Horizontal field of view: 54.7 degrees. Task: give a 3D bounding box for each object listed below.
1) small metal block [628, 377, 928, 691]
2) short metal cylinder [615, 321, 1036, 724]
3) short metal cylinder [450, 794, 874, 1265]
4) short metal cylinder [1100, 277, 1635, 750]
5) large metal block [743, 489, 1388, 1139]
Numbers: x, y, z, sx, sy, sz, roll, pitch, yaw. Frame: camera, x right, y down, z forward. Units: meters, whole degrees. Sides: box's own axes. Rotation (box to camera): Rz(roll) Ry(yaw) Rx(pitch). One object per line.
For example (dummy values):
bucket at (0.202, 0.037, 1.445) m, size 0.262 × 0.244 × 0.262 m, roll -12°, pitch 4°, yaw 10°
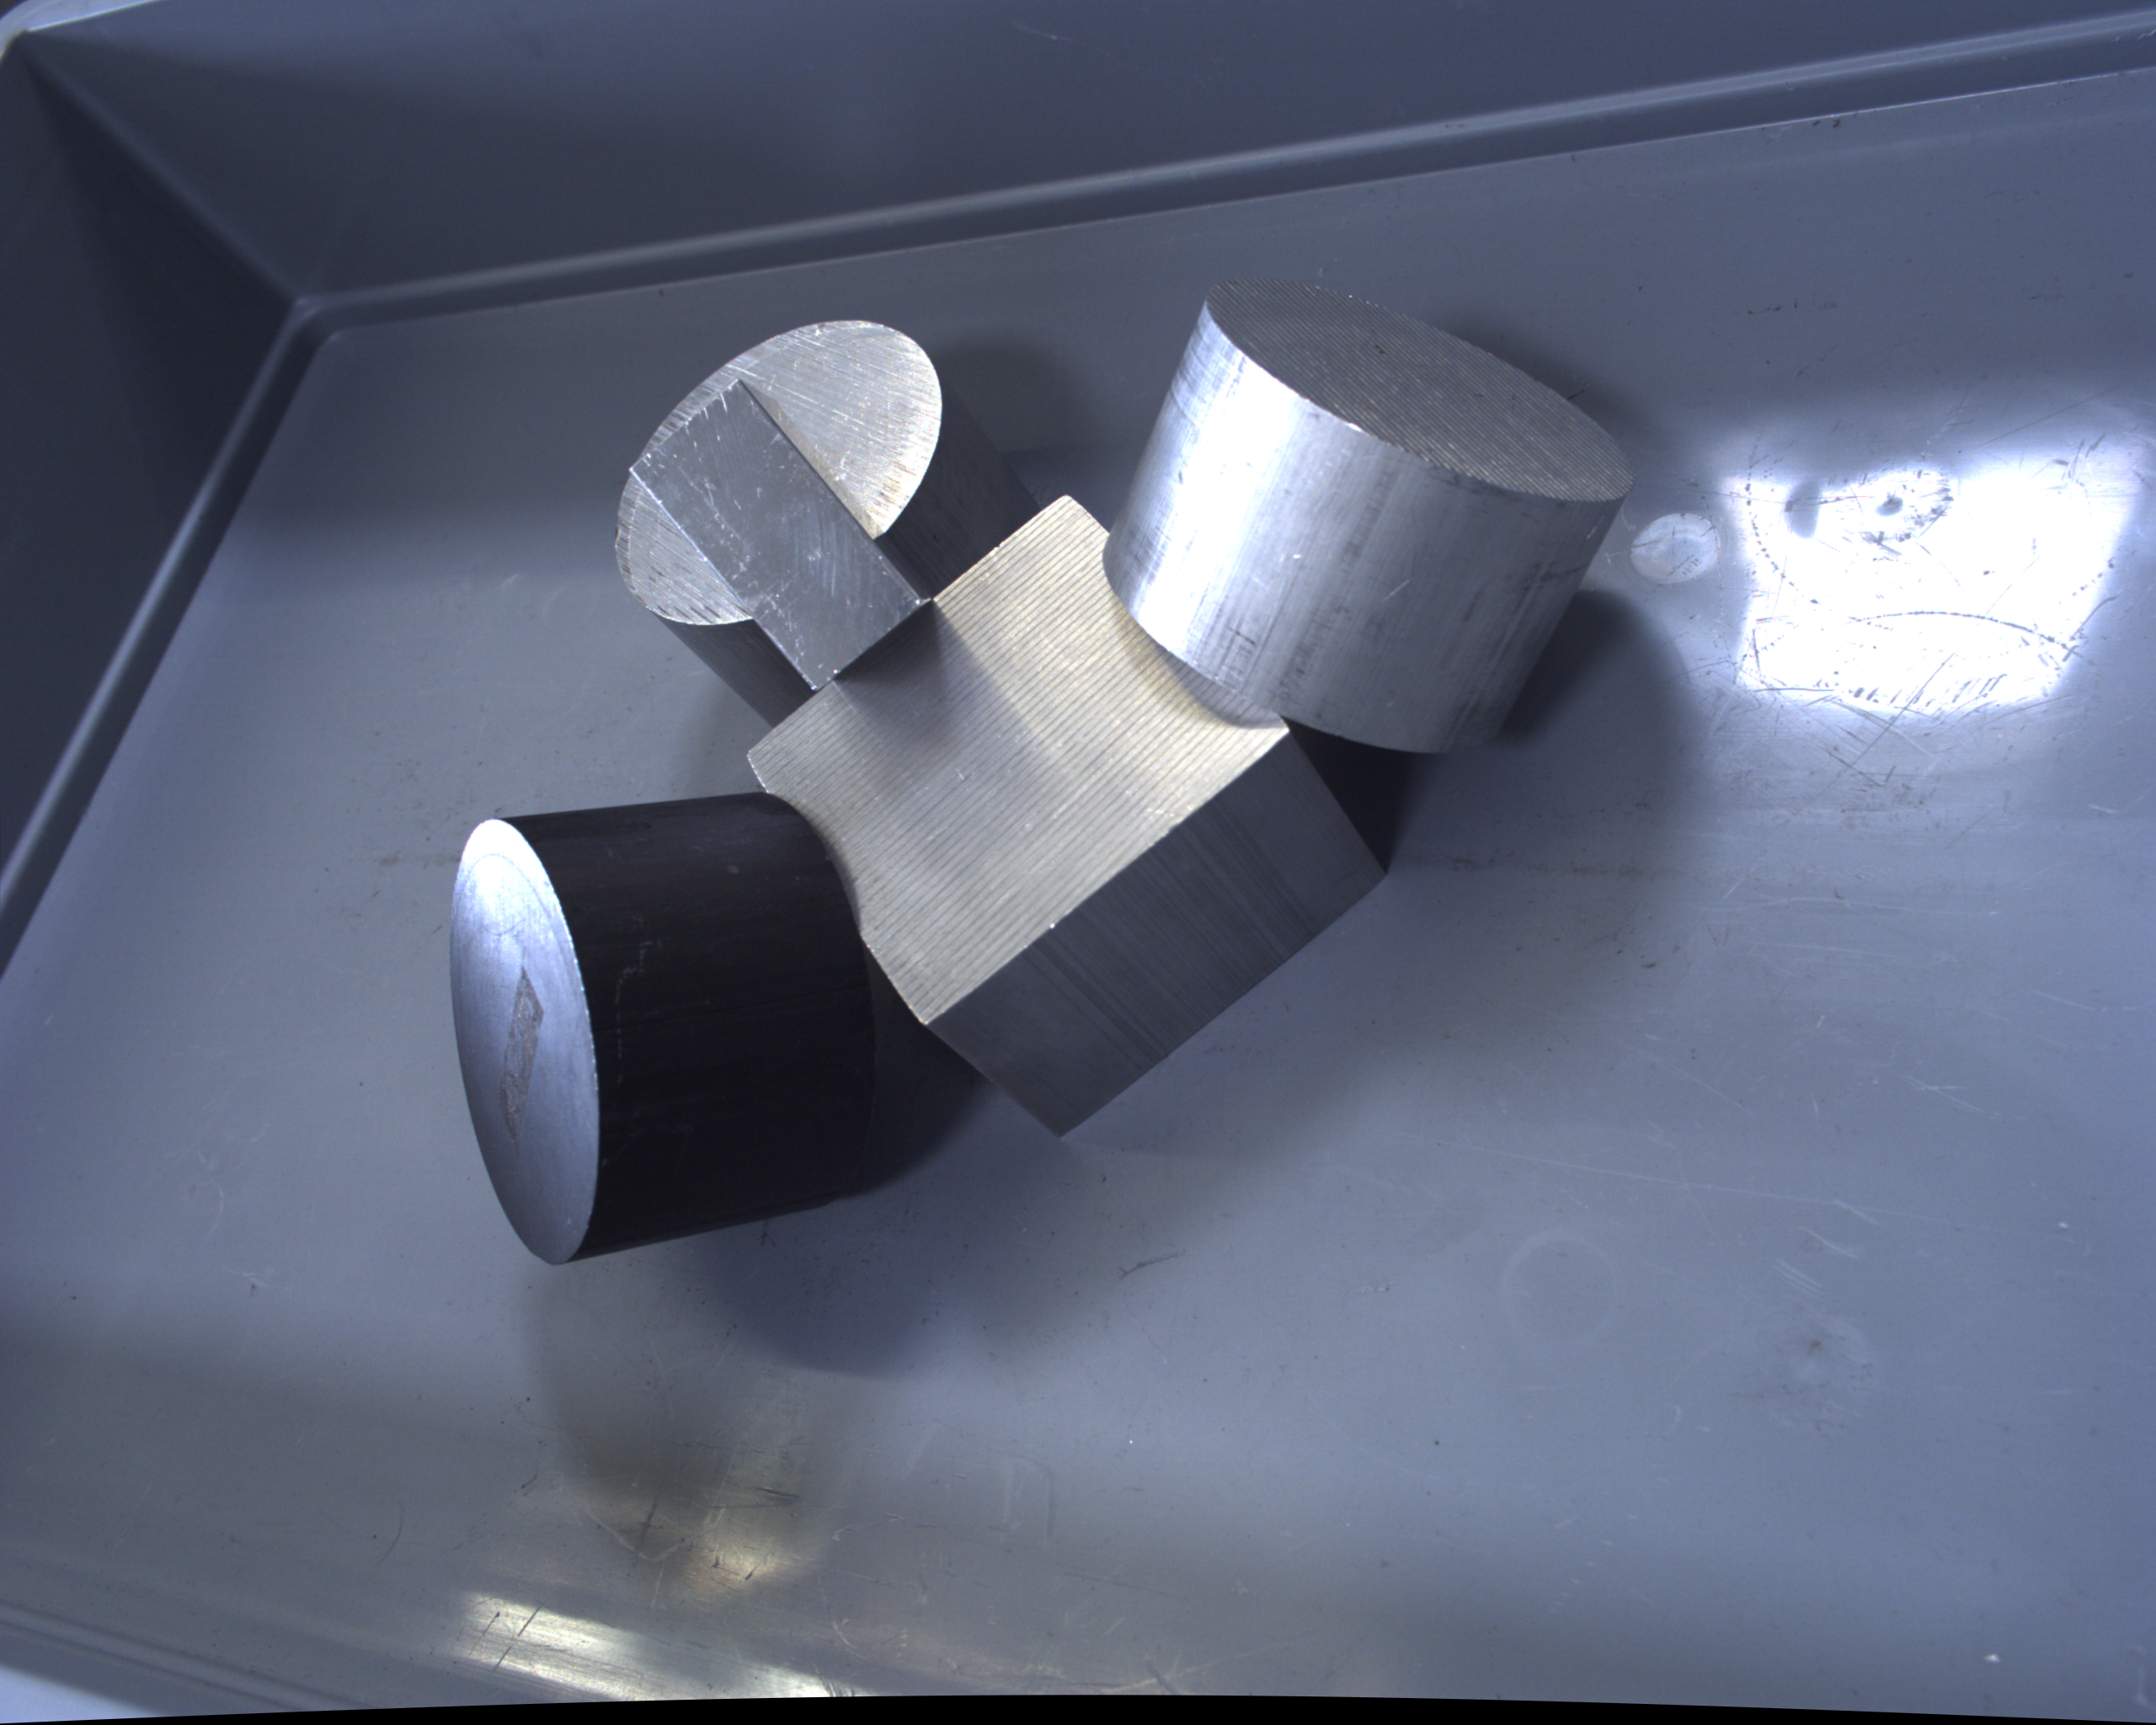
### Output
small metal block at (-0.053, -0.061, 0.389) m, size 0.025 × 0.050 × 0.050 m, roll -39°, pitch 7°, yaw 4°
short metal cylinder at (-0.054, -0.072, 0.460) m, size 0.080 × 0.050 × 0.080 m, roll -13°, pitch 56°, yaw 21°
short metal cylinder at (-0.078, 0.029, 0.384) m, size 0.080 × 0.050 × 0.079 m, roll 18°, pitch 112°, yaw 55°
short metal cylinder at (0.050, -0.063, 0.371) m, size 0.080 × 0.081 × 0.050 m, roll 51°, pitch 130°, yaw 39°
large metal block at (-0.003, -0.010, 0.392) m, size 0.080 × 0.050 × 0.080 m, roll -39°, pitch 51°, yaw 2°
